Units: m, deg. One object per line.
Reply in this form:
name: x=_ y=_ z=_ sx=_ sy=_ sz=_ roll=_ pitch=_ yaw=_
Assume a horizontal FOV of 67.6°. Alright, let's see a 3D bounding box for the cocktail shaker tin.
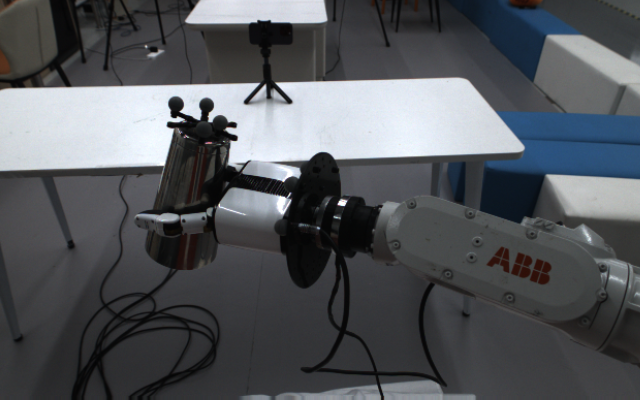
cocktail shaker tin: x=-0.158 y=-0.011 z=0.602 sx=0.093 sy=0.170 sz=0.093 roll=14 pitch=27 yaw=-8
